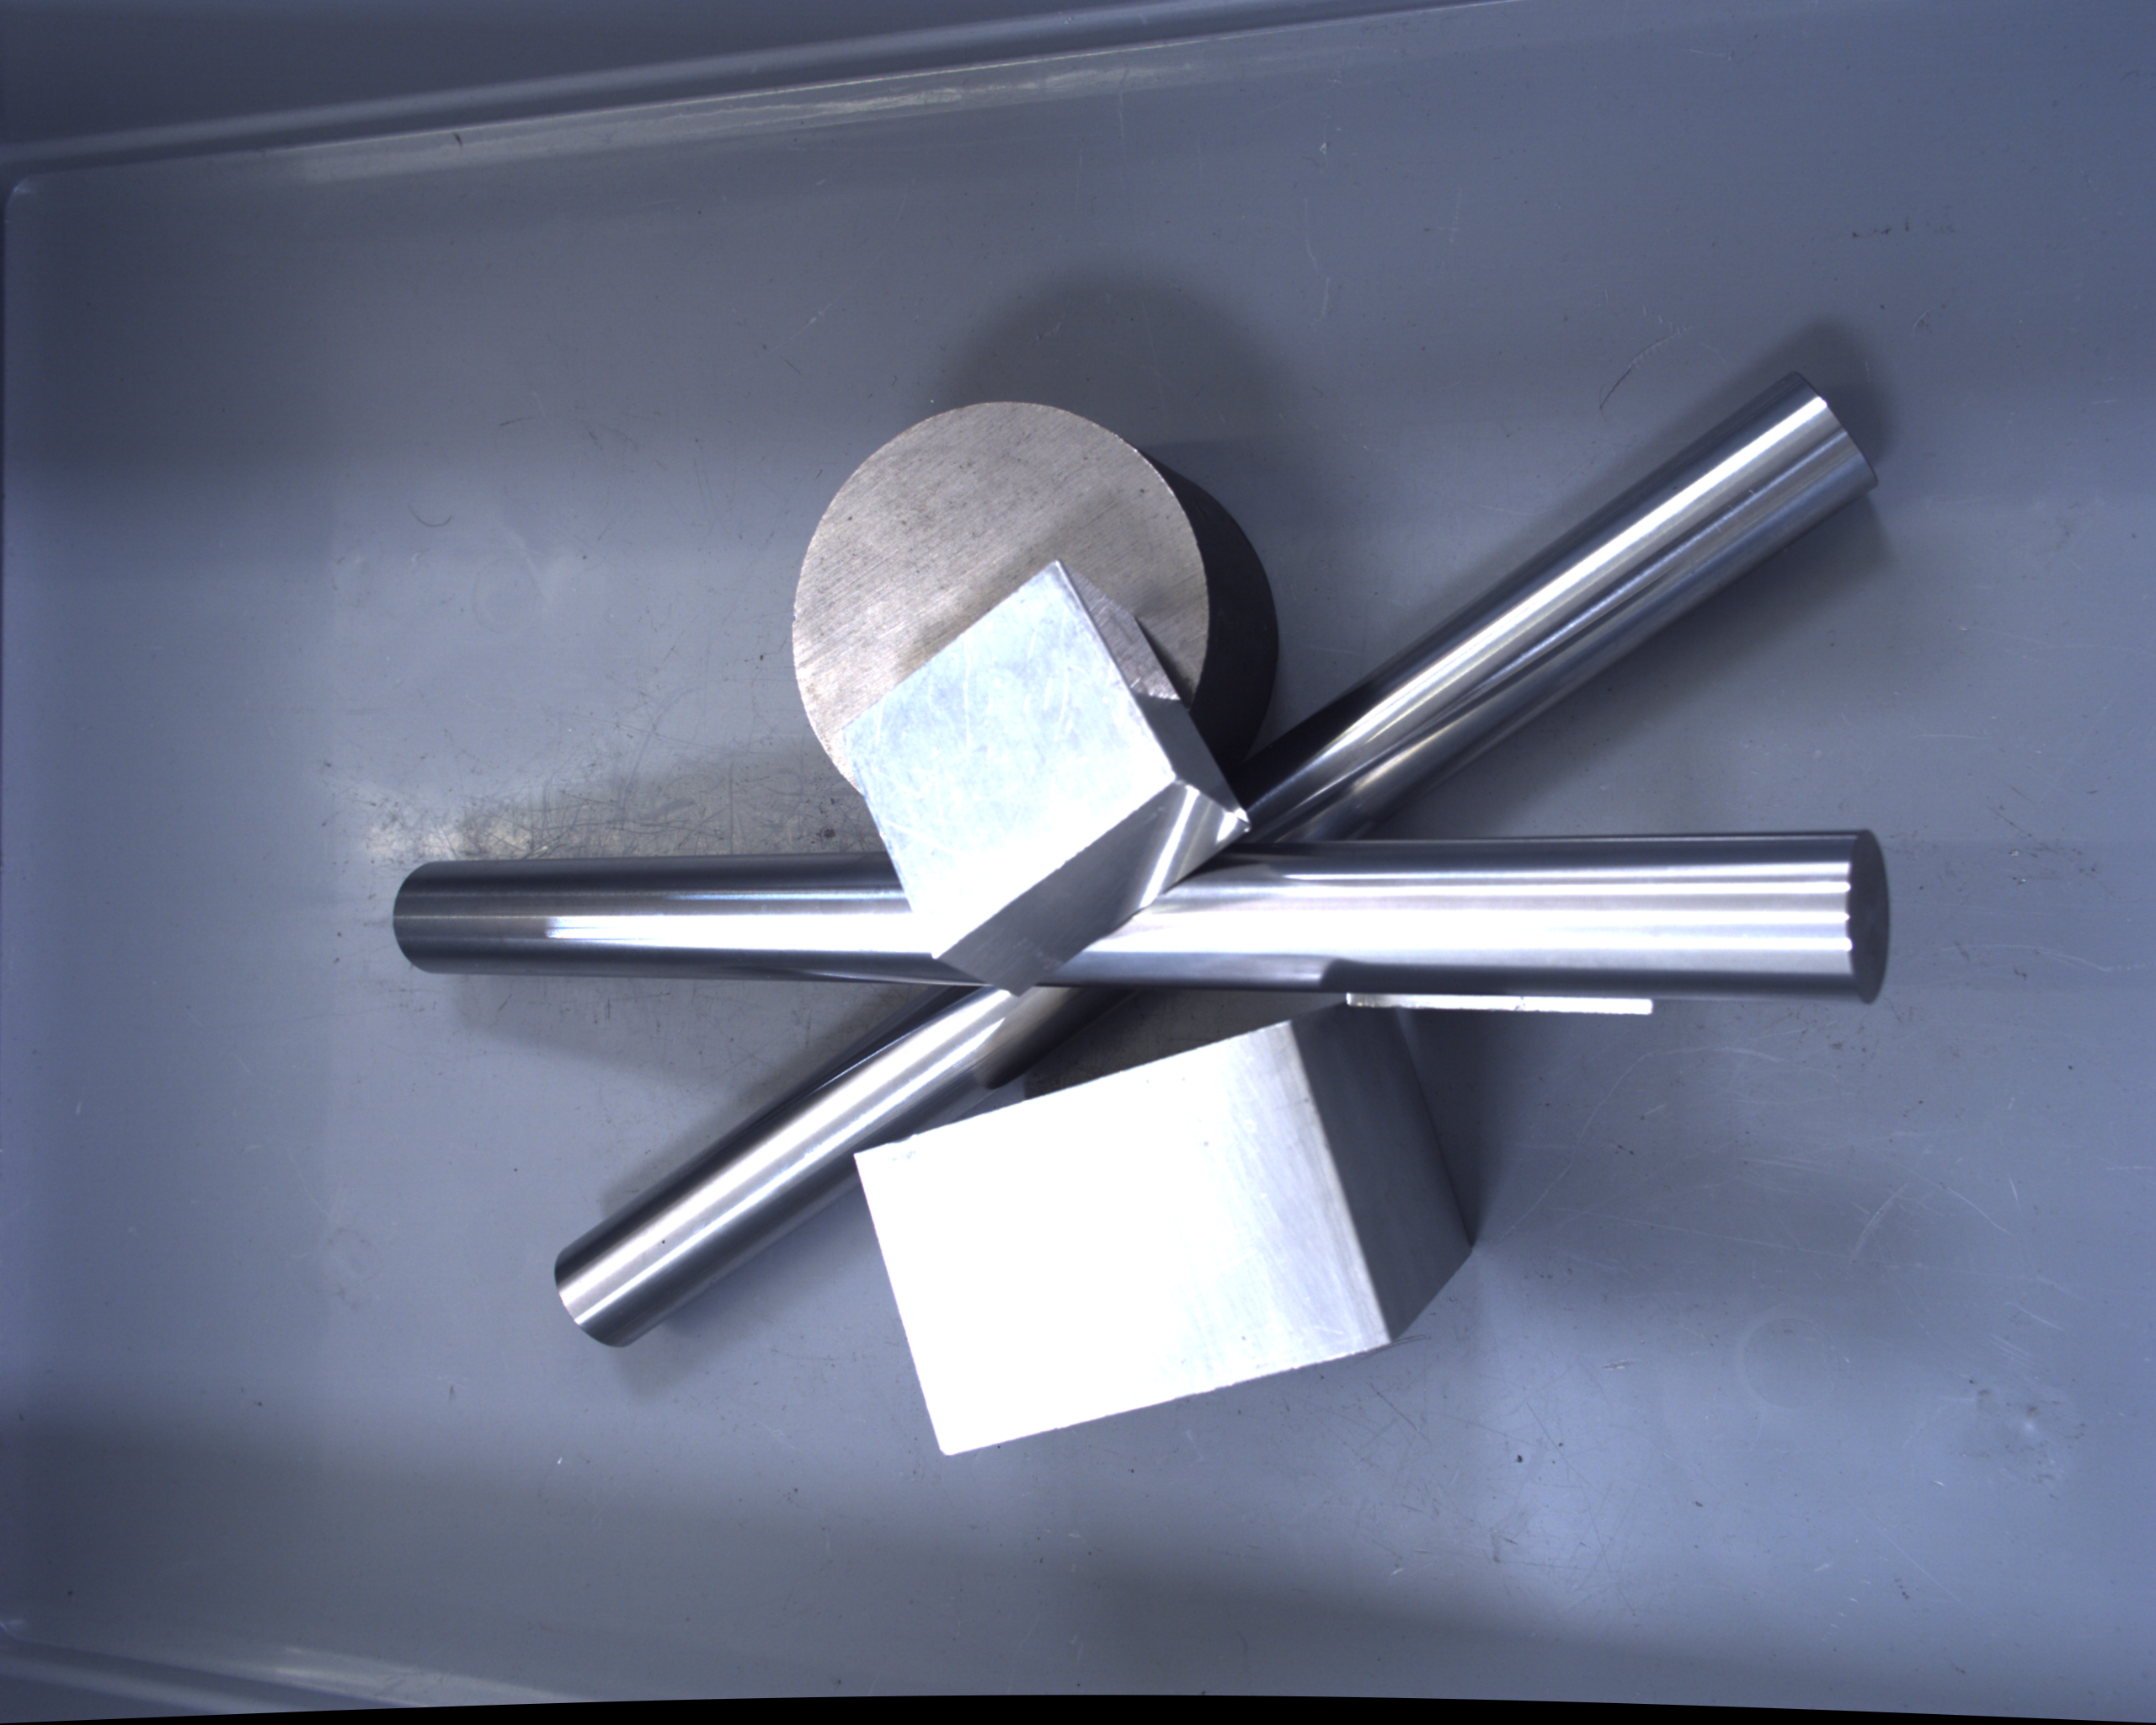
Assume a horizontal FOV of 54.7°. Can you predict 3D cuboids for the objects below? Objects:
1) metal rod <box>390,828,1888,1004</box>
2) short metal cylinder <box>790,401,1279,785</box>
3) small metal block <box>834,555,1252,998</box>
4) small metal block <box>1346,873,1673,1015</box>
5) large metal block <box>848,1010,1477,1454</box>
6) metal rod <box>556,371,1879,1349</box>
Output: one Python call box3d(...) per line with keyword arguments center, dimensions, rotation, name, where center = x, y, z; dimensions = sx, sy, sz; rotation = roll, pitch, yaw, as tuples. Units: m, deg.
box3d(center=(-0.014, 0.010, 0.376), dimensions=(0.300, 0.025, 0.025), rotation=(-1, 90, 33), name="metal rod")
box3d(center=(-0.007, -0.043, 0.398), dimensions=(0.080, 0.050, 0.079), rotation=(0, 89, 20), name="short metal cylinder")
box3d(center=(-0.007, -0.014, 0.349), dimensions=(0.050, 0.025, 0.050), rotation=(-37, 56, 16), name="small metal block")
box3d(center=(0.078, 0.012, 0.368), dimensions=(0.050, 0.050, 0.025), rotation=(0, 90, 21), name="small metal block")
box3d(center=(0.018, 0.061, 0.372), dimensions=(0.080, 0.080, 0.050), rotation=(-19, 84, 19), name="large metal block")
box3d(center=(0.015, 0.009, 0.404), dimensions=(0.300, 0.025, 0.025), rotation=(-36, 79, 16), name="metal rod")
